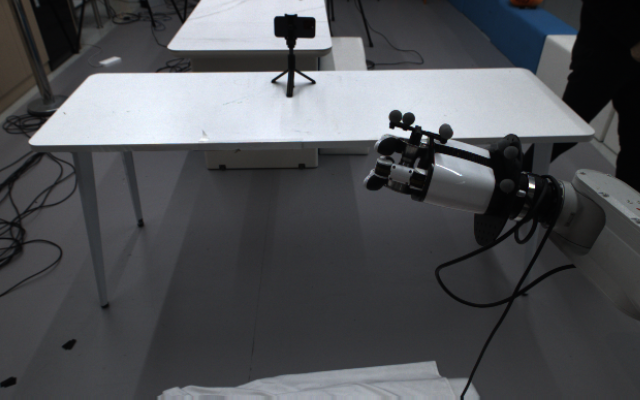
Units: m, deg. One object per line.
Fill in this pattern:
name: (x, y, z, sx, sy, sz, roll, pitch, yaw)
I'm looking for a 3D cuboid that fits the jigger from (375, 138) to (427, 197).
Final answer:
jigger: (0.121, -0.048, 0.675, 0.043, 0.071, 0.043, 15, 17, -5)
